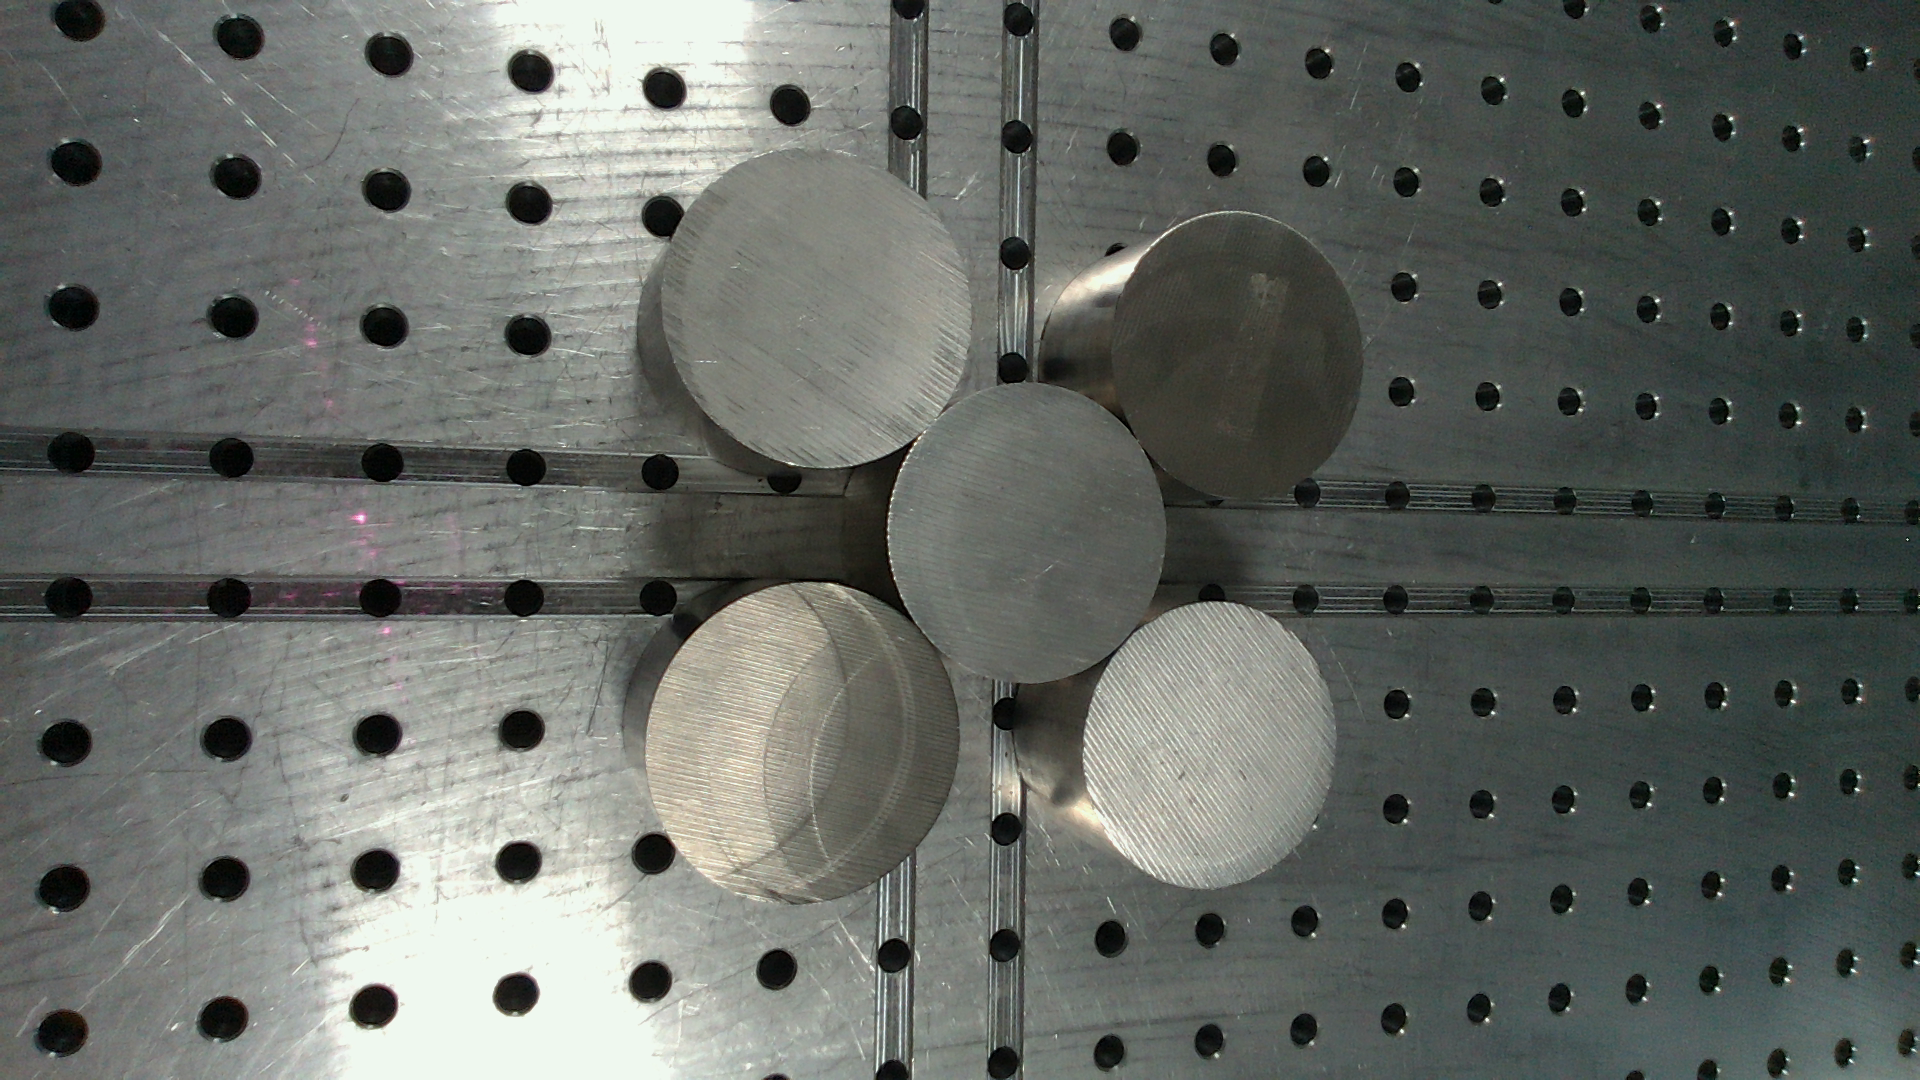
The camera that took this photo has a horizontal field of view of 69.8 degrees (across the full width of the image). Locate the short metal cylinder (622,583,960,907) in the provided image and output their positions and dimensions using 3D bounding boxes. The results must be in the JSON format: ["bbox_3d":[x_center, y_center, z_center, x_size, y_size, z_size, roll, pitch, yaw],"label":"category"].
[{"bbox_3d":[-0.046,0.051,0.365,0.080,0.050,0.080,0,90,-20],"label":"short metal cylinder"}]

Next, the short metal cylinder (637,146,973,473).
[{"bbox_3d":[-0.043,-0.058,0.366,0.080,0.050,0.080,0,90,-20],"label":"short metal cylinder"}]

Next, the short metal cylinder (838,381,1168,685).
[{"bbox_3d":[0.011,-0.002,0.386,0.080,0.050,0.080,0,90,-20],"label":"short metal cylinder"}]

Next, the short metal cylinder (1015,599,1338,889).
[{"bbox_3d":[0.063,0.057,0.405,0.080,0.050,0.080,0,90,-20],"label":"short metal cylinder"}]

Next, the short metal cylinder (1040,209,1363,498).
[{"bbox_3d":[0.070,-0.052,0.406,0.080,0.050,0.080,0,90,-20],"label":"short metal cylinder"}]
